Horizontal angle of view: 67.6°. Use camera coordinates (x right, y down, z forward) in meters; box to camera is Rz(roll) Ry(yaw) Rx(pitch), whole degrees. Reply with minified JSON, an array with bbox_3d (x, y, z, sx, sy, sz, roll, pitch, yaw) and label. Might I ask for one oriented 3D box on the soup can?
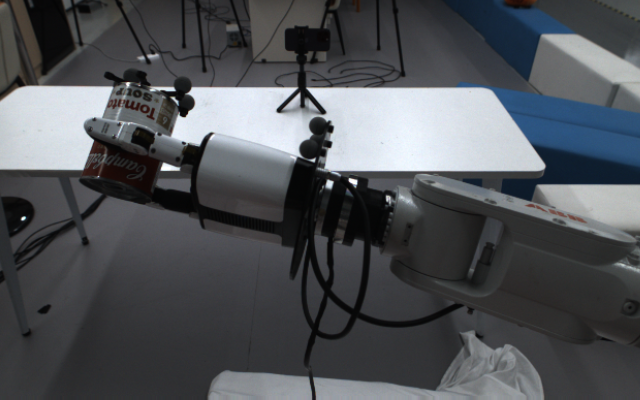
[{"bbox_3d":[-0.185,-0.055,0.481,0.067,0.067,0.101,8,74,9],"label":"soup can"}]
